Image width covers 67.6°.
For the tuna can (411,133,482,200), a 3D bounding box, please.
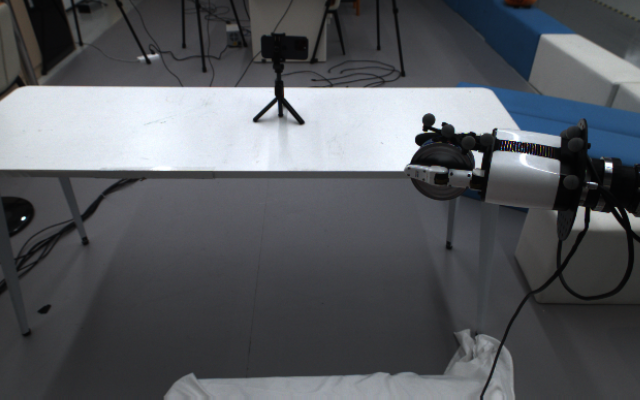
[{"bbox_3d":[0.172,-0.047,0.674,0.085,0.085,0.034,15,28,18],"label":"tuna can"}]
